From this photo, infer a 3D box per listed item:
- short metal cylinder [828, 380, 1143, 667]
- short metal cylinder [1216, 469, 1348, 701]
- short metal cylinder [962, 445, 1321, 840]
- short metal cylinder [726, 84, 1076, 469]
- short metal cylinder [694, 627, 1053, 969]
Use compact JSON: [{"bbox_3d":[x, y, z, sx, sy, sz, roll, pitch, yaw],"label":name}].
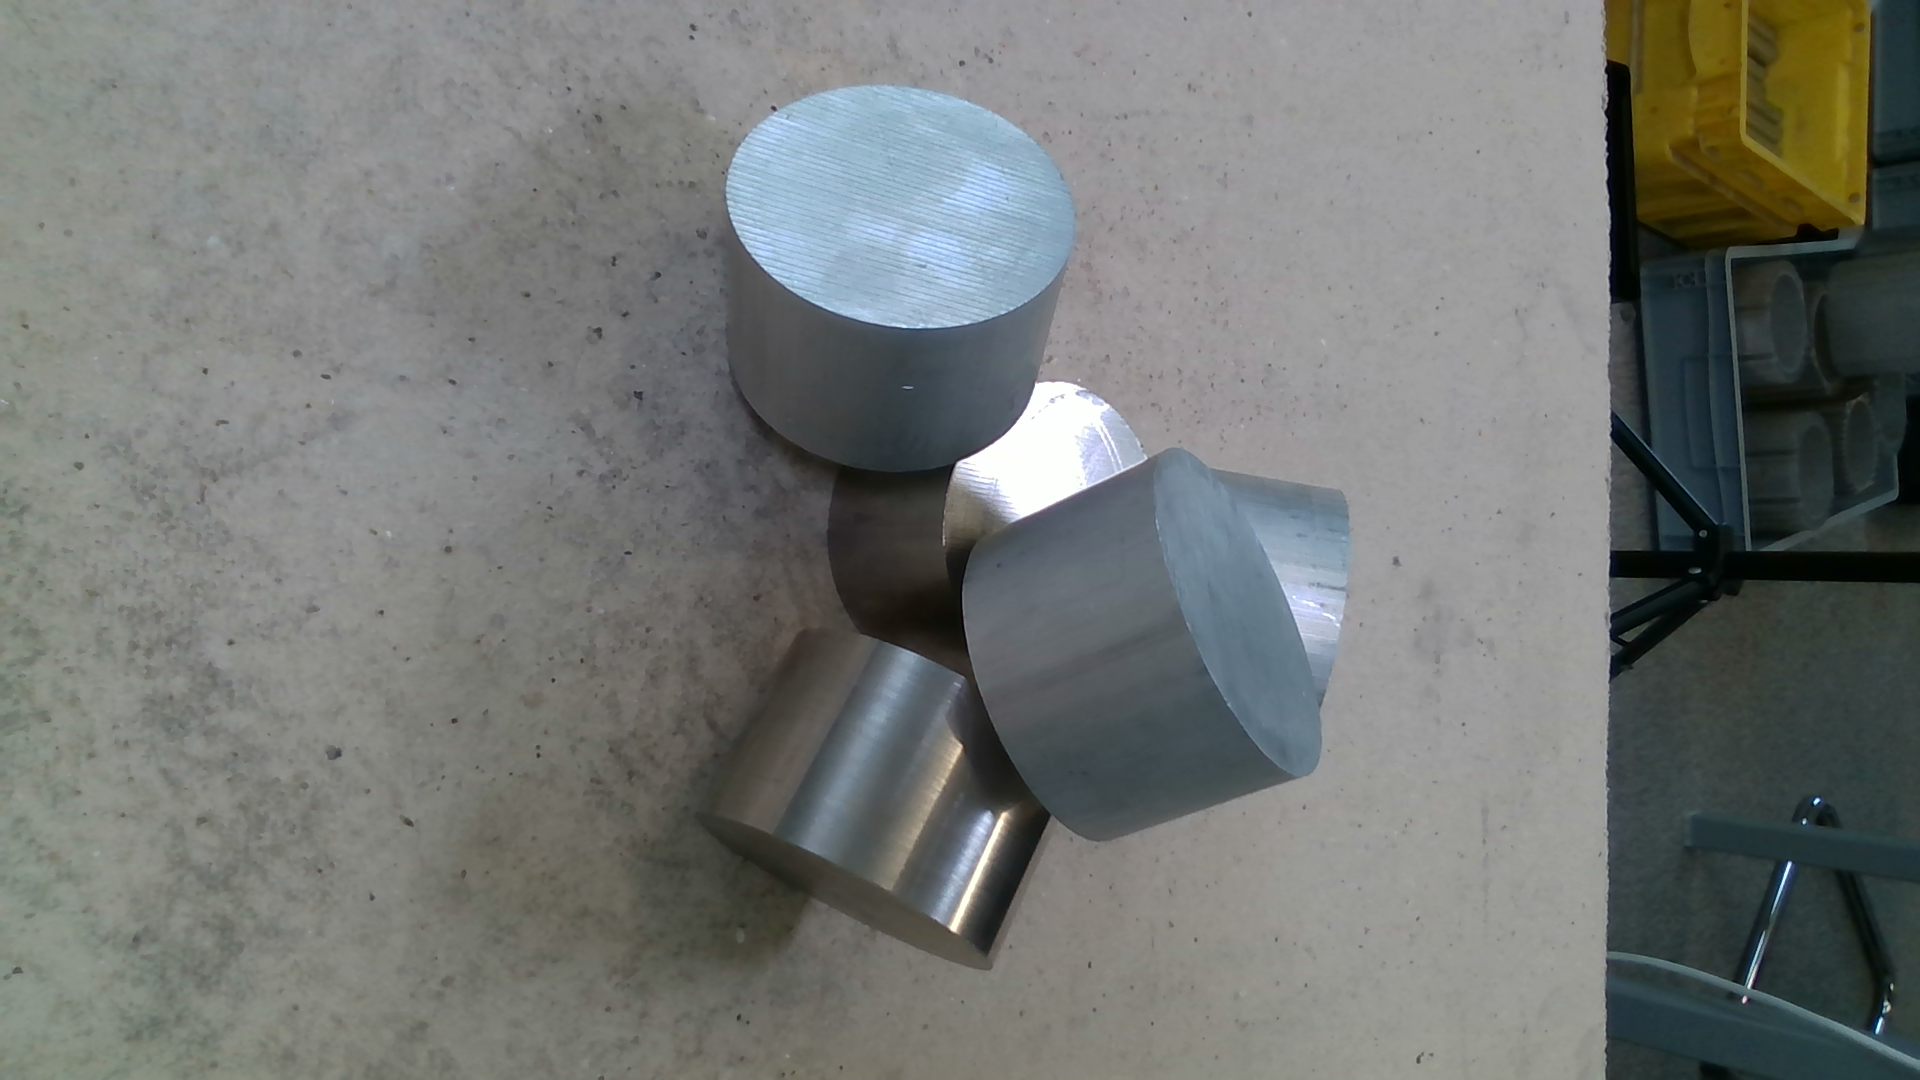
[{"bbox_3d":[0.011,-0.002,0.384,0.080,0.050,0.080,0,91,-41],"label":"short metal cylinder"},{"bbox_3d":[0.082,0.019,0.416,0.050,0.080,0.080,10,81,4],"label":"short metal cylinder"},{"bbox_3d":[0.044,0.024,0.325,0.080,0.050,0.080,43,33,-37],"label":"short metal cylinder"},{"bbox_3d":[-0.016,-0.064,0.334,0.080,0.050,0.080,5,55,-7],"label":"short metal cylinder"},{"bbox_3d":[-0.018,0.064,0.341,0.080,0.080,0.050,42,65,-32],"label":"short metal cylinder"}]
